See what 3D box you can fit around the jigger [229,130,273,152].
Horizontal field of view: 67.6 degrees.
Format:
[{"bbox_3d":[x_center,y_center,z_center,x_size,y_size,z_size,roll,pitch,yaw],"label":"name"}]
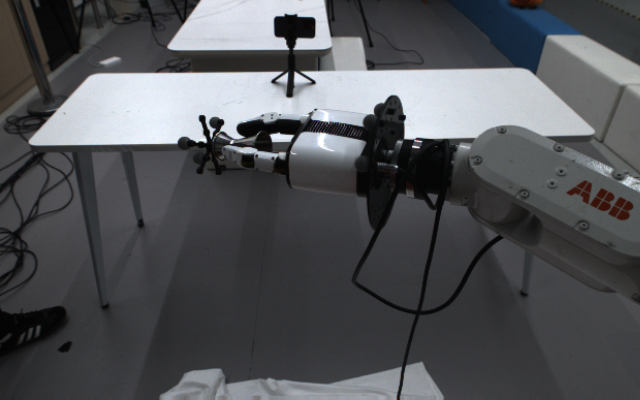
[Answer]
[{"bbox_3d":[-0.095,-0.076,0.641,0.071,0.043,0.043,3,33,25],"label":"jigger"}]
